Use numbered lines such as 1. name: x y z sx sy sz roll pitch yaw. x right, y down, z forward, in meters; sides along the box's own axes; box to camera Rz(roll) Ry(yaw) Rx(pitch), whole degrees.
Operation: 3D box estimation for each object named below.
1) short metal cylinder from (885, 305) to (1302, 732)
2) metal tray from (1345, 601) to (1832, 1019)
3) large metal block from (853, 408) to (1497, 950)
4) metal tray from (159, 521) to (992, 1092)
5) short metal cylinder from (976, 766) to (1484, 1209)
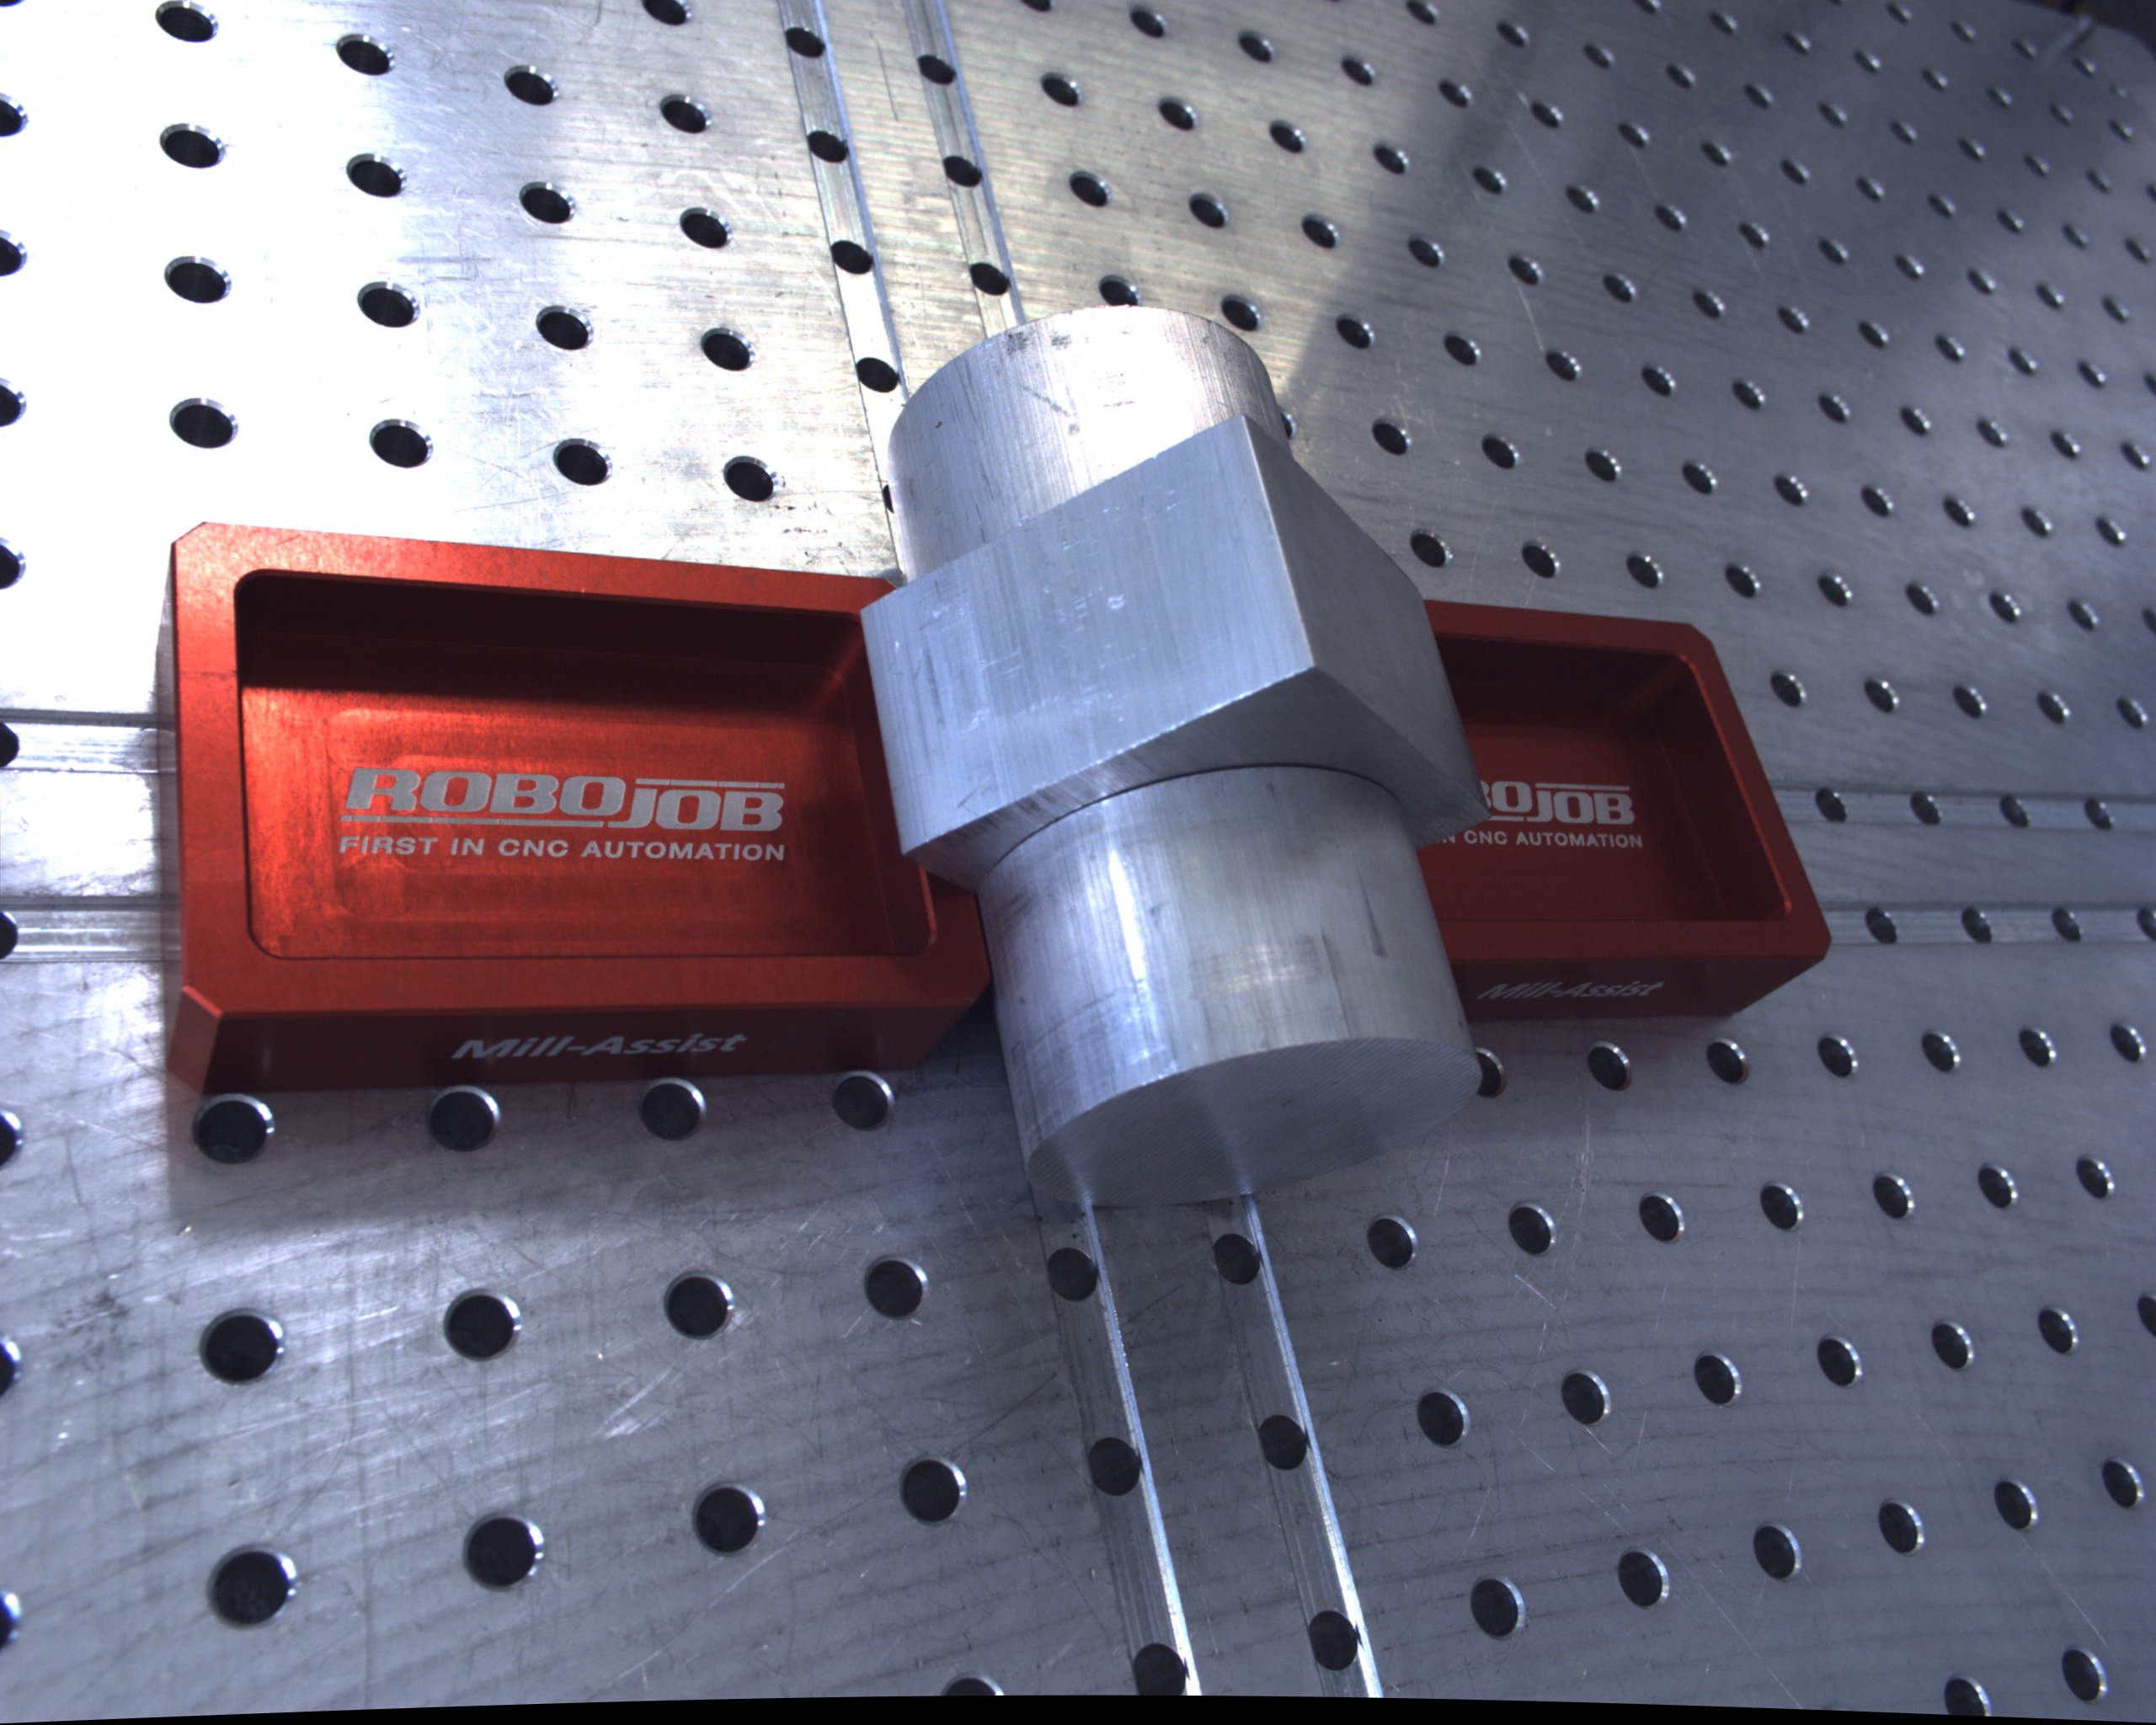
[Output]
1. short metal cylinder: 0.005 -0.064 0.414 0.081 0.080 0.050 1 61 -28
2. metal tray: 0.096 -0.012 0.464 0.131 0.030 0.090 1 61 -28
3. large metal block: 0.019 -0.026 0.380 0.080 0.080 0.050 30 41 -54
4. metal tray: -0.087 -0.009 0.363 0.131 0.030 0.090 1 61 -28
5. short metal cylinder: 0.026 0.024 0.371 0.081 0.080 0.050 2 61 -28
